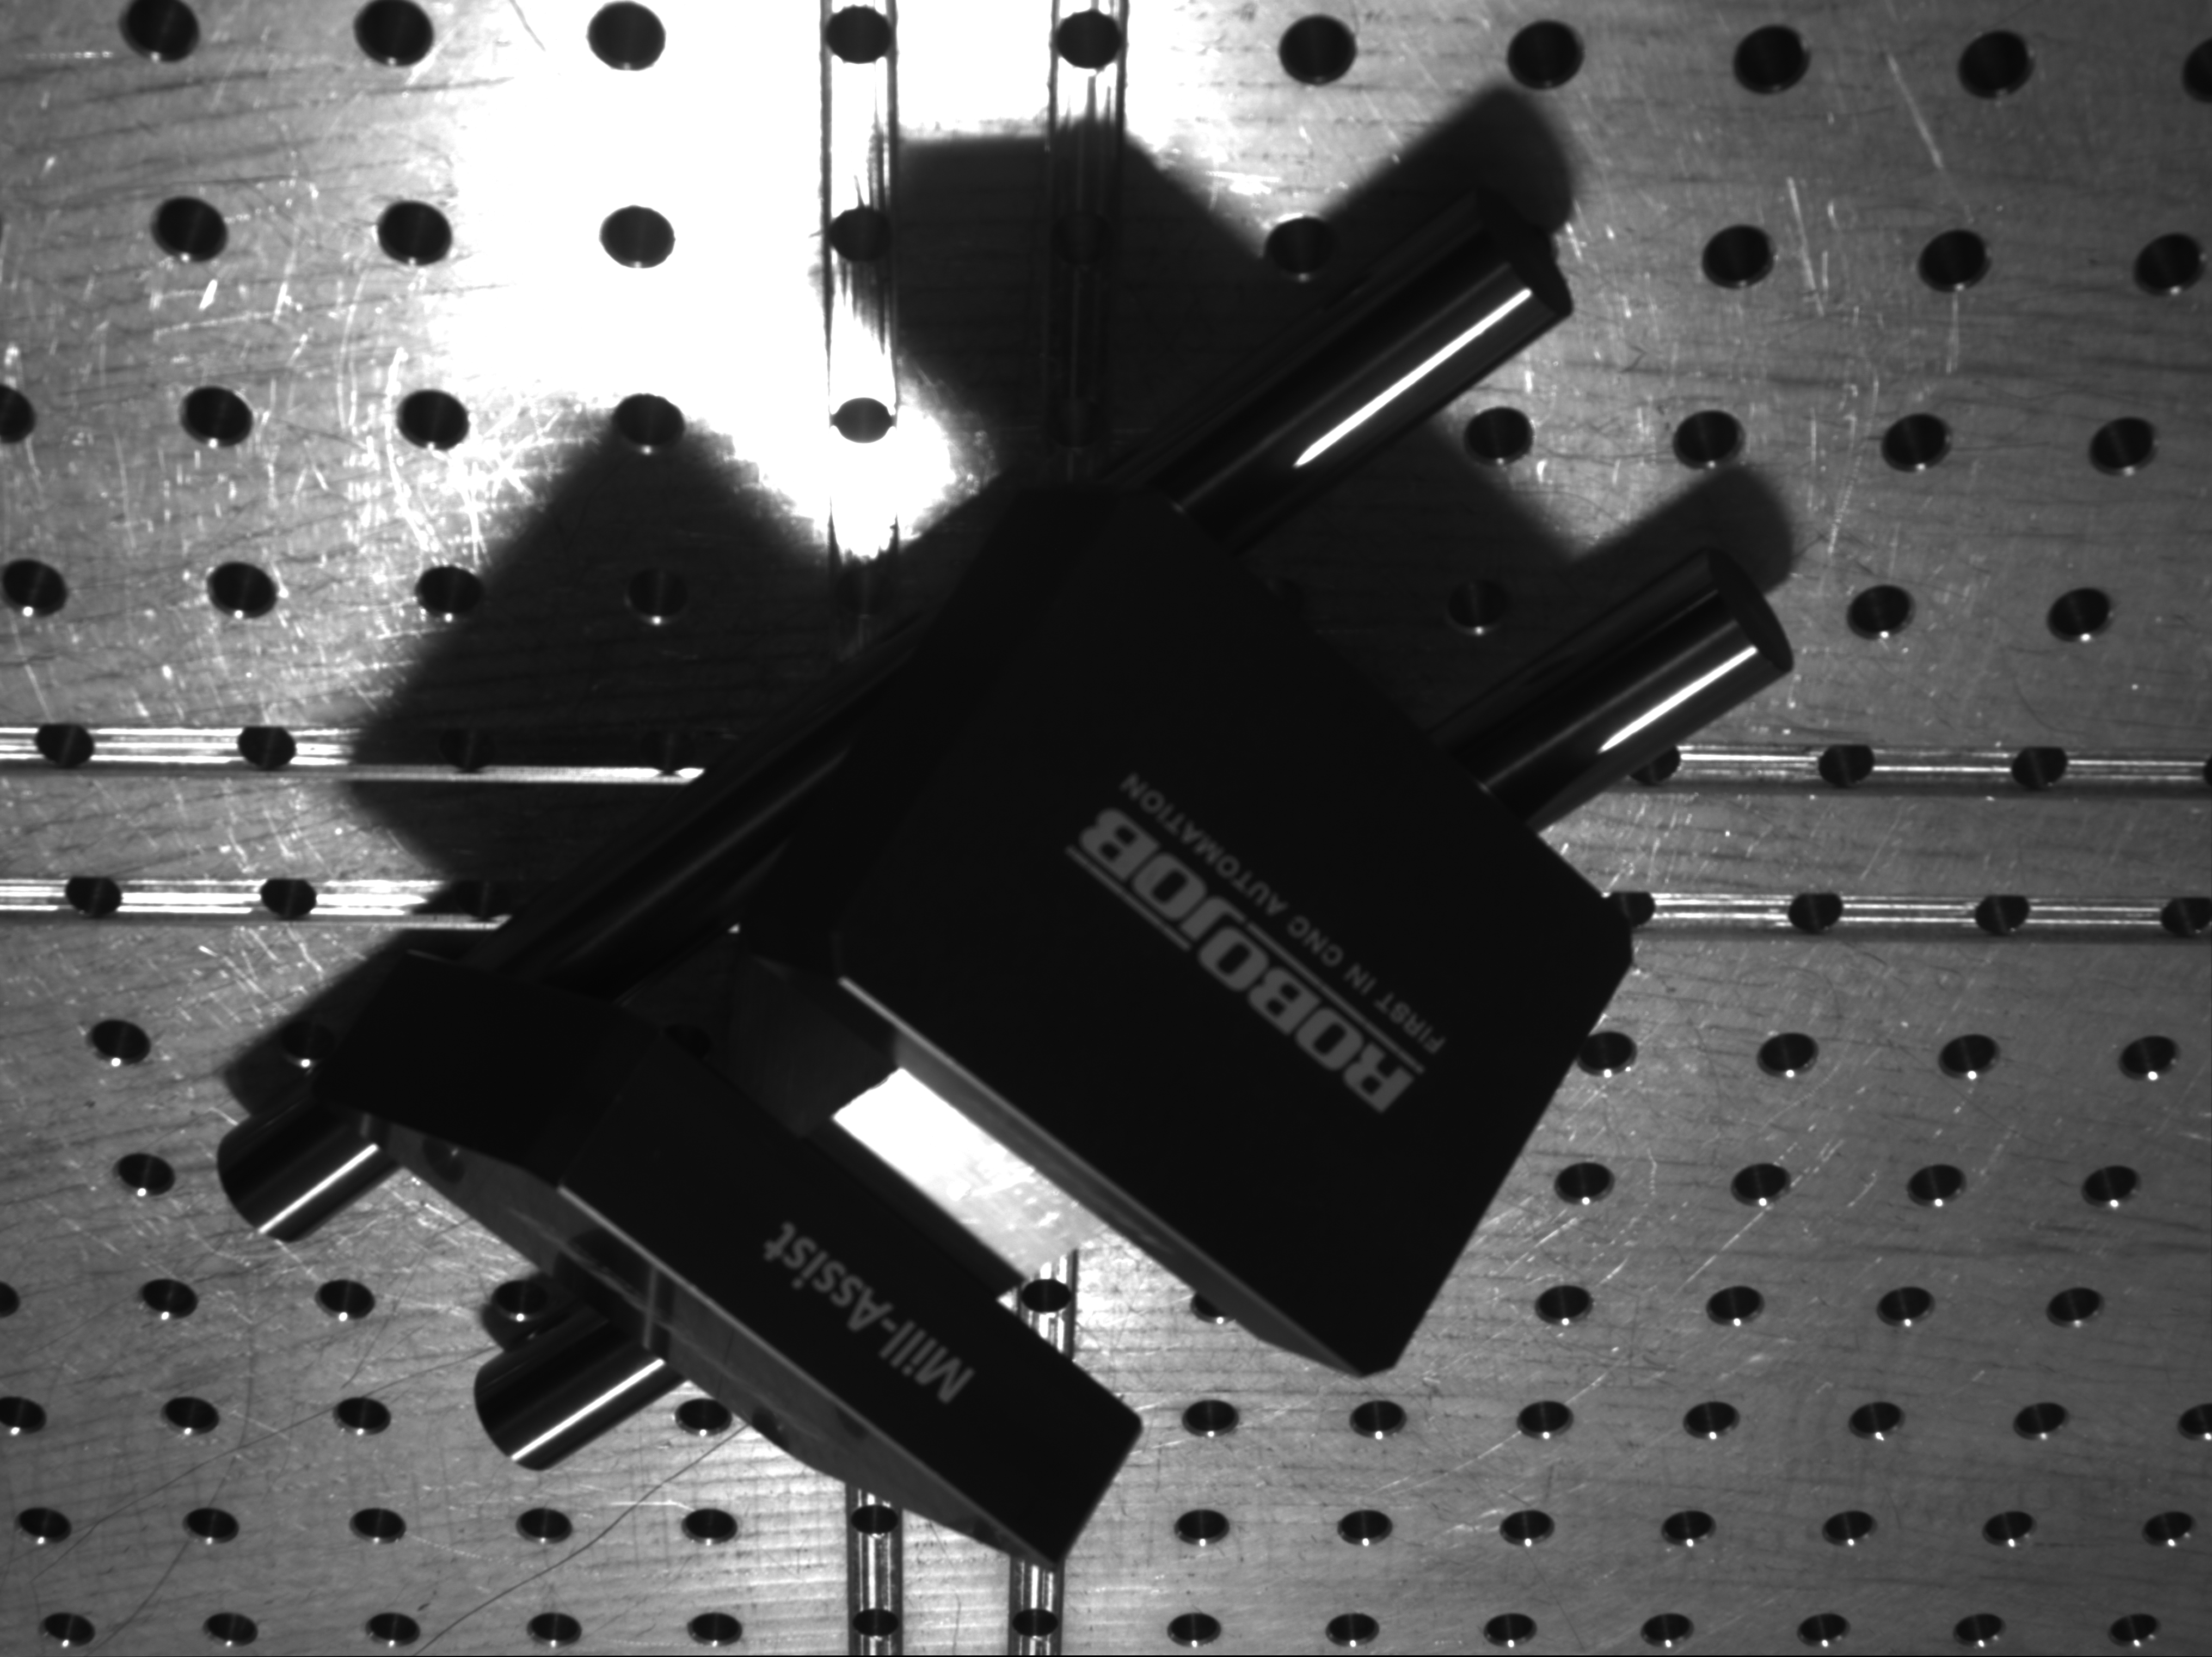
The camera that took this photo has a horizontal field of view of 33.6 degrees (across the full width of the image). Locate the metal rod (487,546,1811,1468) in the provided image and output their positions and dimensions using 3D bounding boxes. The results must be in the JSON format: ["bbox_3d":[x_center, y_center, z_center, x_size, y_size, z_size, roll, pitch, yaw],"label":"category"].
[{"bbox_3d":[-0.002,0.040,0.675,0.300,0.025,0.025,-34,123,24],"label":"metal rod"}]

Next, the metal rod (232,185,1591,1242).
[{"bbox_3d":[-0.044,-0.011,0.631,0.300,0.025,0.025,-35,123,24],"label":"metal rod"}]

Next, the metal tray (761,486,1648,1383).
[{"bbox_3d":[0.019,0.018,0.586,0.130,0.030,0.090,40,75,-29],"label":"metal tray"}]

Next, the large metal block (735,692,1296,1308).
[{"bbox_3d":[-0.016,0.028,0.628,0.080,0.080,0.050,-34,123,24],"label":"large metal block"}]

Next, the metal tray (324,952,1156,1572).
[{"bbox_3d":[-0.062,0.075,0.631,0.130,0.030,0.090,43,160,-31],"label":"metal tray"}]
